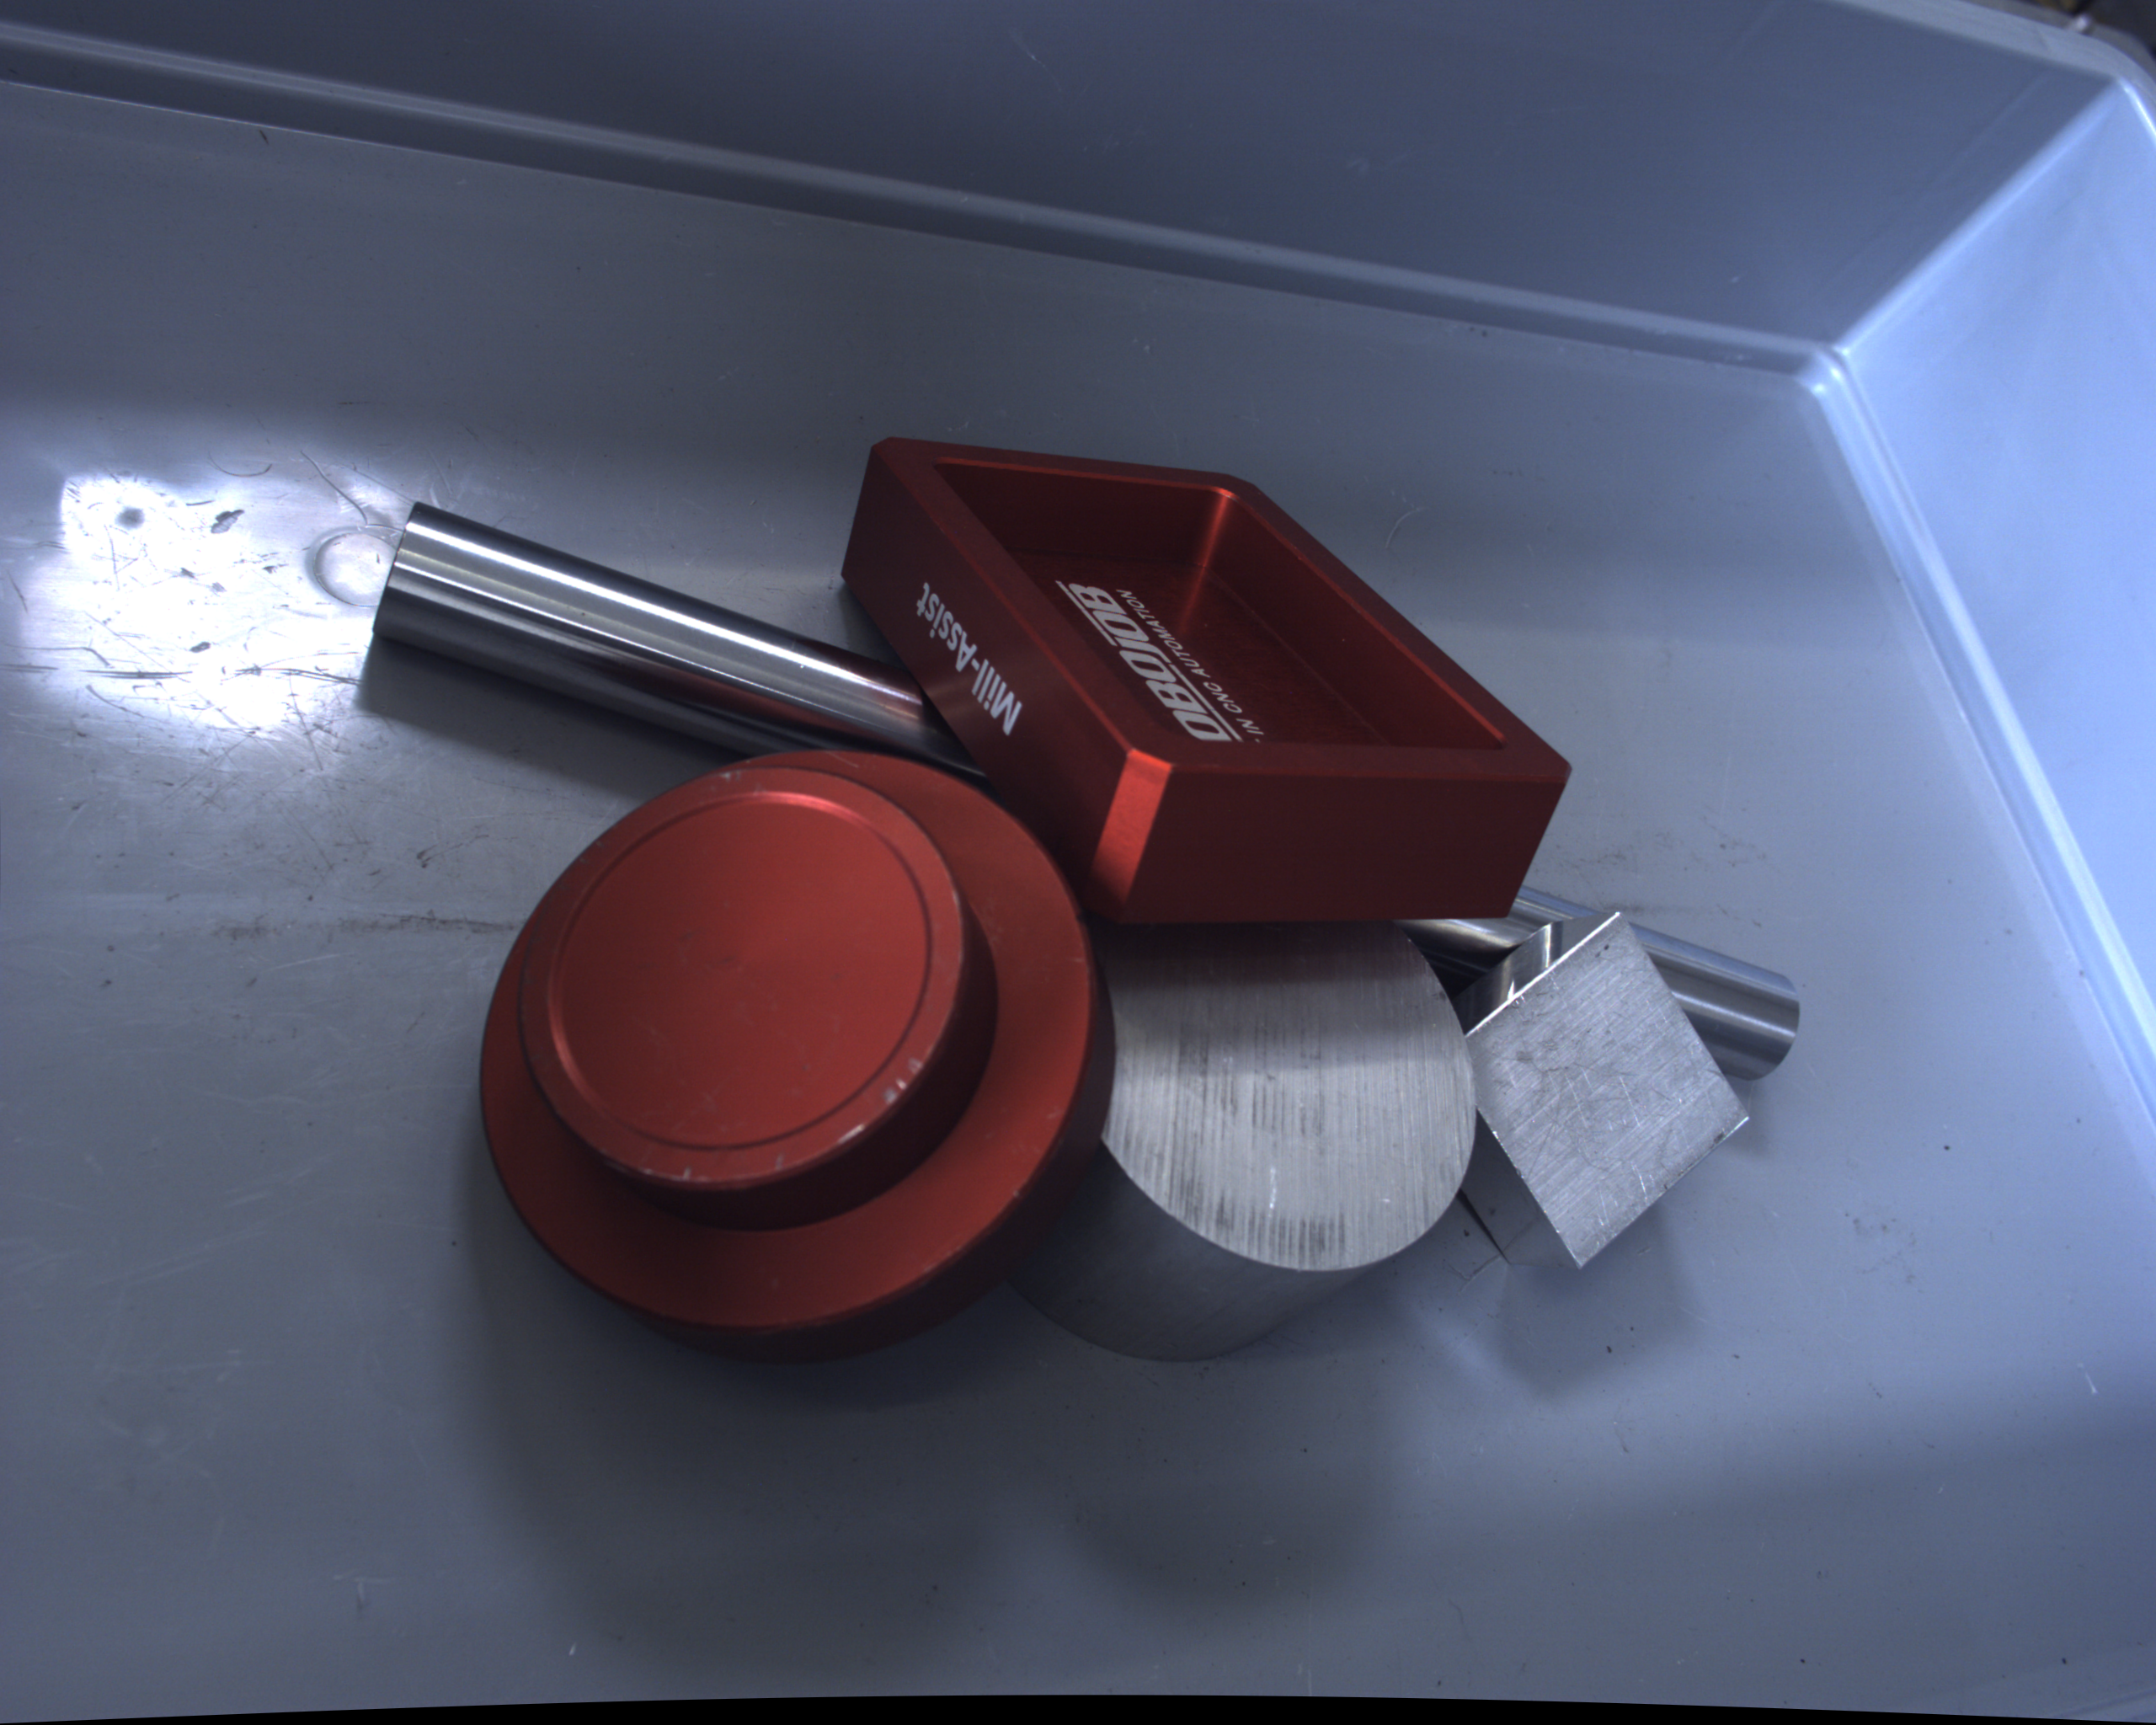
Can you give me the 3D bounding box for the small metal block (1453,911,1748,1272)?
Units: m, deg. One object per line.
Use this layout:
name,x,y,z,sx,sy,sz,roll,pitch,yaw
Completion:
small metal block,0.096,0.045,0.414,0.050,0.025,0.050,-35,97,-22

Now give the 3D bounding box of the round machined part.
round machined part,-0.046,0.024,0.323,0.099,0.042,0.098,-4,62,7

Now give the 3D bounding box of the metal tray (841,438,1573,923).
metal tray,0.019,-0.038,0.396,0.091,0.030,0.130,0,33,-29

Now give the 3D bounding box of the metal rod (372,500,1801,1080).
metal rod,0.015,-0.008,0.417,0.302,0.025,0.025,18,55,-18

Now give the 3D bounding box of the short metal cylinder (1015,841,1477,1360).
short metal cylinder,0.023,0.043,0.374,0.081,0.050,0.080,14,56,-21
